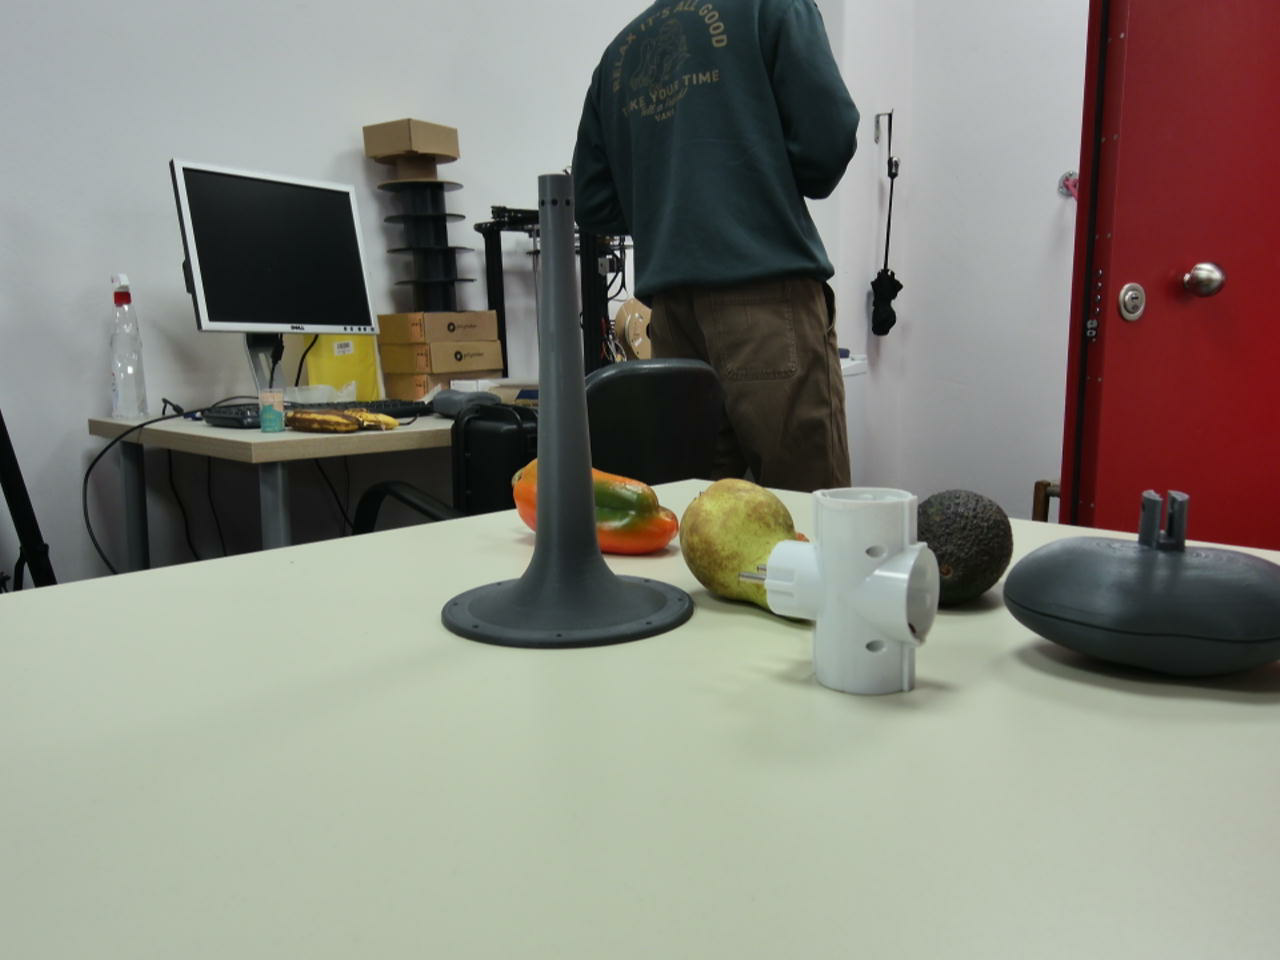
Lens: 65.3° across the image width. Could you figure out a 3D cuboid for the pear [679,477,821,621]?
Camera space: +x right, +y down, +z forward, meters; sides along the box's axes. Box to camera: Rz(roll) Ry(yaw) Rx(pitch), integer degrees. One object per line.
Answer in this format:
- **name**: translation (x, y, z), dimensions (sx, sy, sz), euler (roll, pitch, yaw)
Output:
- **pear**: translation (0.081, 0.041, 0.607), dimensions (0.071, 0.075, 0.144), euler (-4, 9, -36)
